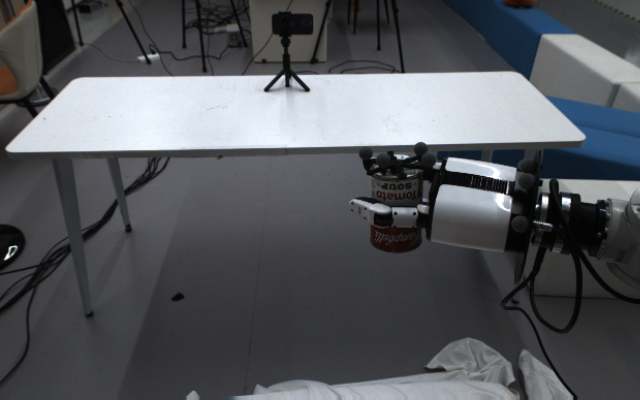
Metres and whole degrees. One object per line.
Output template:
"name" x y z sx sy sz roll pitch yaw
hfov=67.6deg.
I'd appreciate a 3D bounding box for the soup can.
"soup can" 0.099 0.006 0.614 0.067 0.101 0.067 -4 26 2
